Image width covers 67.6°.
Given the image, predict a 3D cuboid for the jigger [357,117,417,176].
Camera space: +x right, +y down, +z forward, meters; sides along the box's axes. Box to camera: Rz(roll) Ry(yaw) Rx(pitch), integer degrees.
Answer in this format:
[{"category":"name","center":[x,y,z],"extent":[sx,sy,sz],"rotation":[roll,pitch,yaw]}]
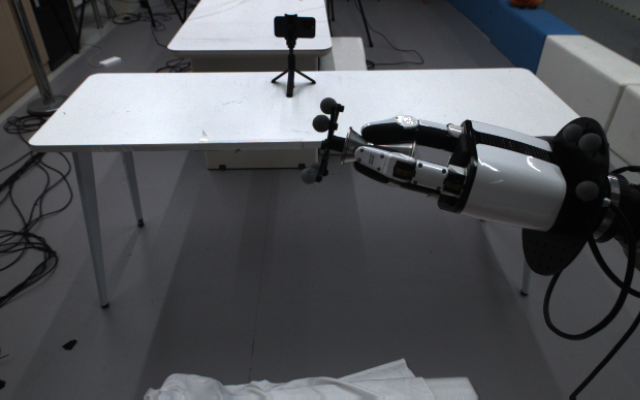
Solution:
[{"category":"jigger","center":[0.062,-0.051,0.493],"extent":[0.071,0.043,0.043],"rotation":[14,36,4]}]
